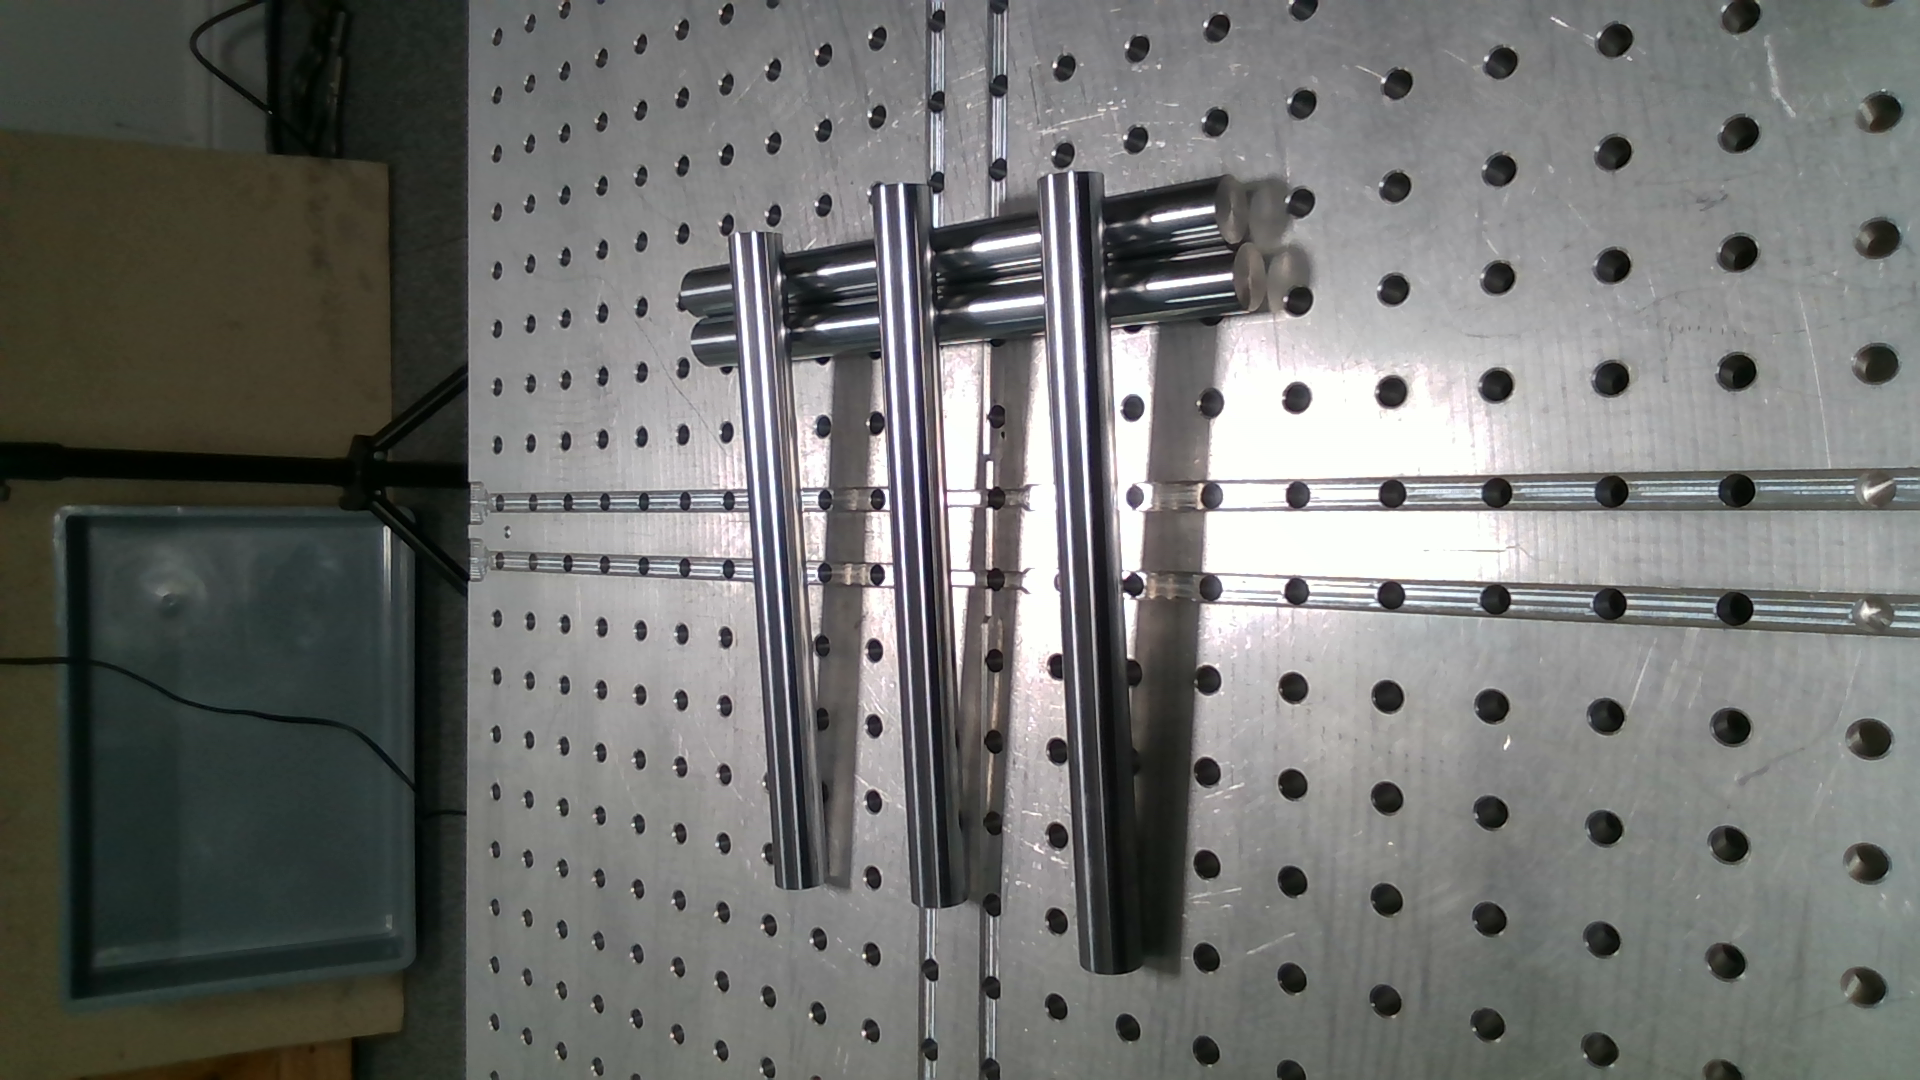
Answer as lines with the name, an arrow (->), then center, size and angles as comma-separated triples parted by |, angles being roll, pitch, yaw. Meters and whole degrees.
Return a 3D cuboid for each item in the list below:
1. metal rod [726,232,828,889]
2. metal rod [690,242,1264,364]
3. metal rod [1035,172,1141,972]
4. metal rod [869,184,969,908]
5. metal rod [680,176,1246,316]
metal rod -> -0.084, 0.012, 0.637 | 0.025, 0.025, 0.300 | 1, 97, 40
metal rod -> -0.011, -0.097, 0.592 | 0.300, 0.025, 0.025 | 1, 91, 40
metal rod -> 0.049, 0.015, 0.524 | 0.025, 0.025, 0.300 | 1, 97, 40
metal rod -> -0.017, 0.005, 0.579 | 0.025, 0.025, 0.300 | 2, 98, 40
metal rod -> -0.017, -0.122, 0.597 | 0.300, 0.025, 0.025 | 1, 91, 40
